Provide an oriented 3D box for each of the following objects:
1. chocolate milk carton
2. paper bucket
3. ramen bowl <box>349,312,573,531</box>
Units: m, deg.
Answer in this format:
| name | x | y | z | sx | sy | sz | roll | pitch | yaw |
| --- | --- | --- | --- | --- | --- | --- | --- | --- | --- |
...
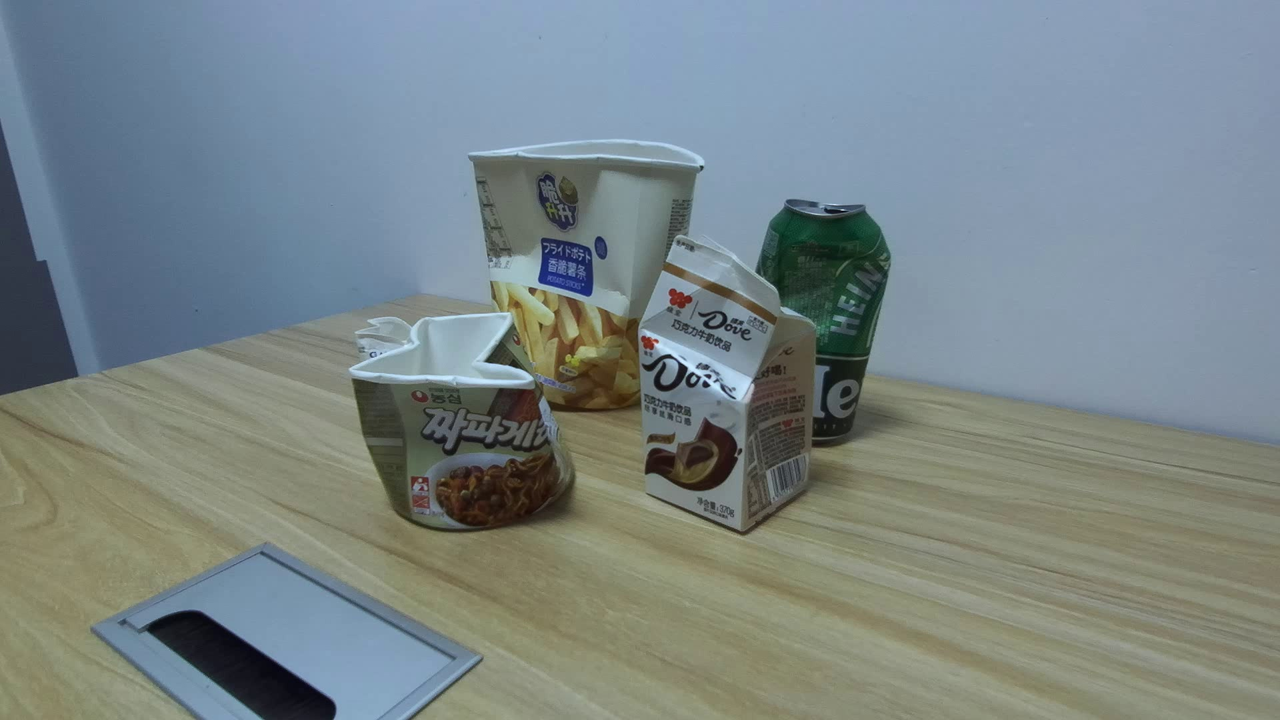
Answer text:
| name | x | y | z | sx | sy | sz | roll | pitch | yaw |
| --- | --- | --- | --- | --- | --- | --- | --- | --- | --- |
| chocolate milk carton | 0.050 | 0.008 | 0.401 | 0.076 | 0.155 | 0.074 | 17 | 28 | 39 |
| paper bucket | -0.045 | -0.075 | 0.581 | 0.217 | 0.199 | 0.148 | 4 | 19 | 14 |
| ramen bowl | -0.098 | 0.032 | 0.432 | 0.111 | 0.093 | 0.128 | 2 | 19 | 5 |
